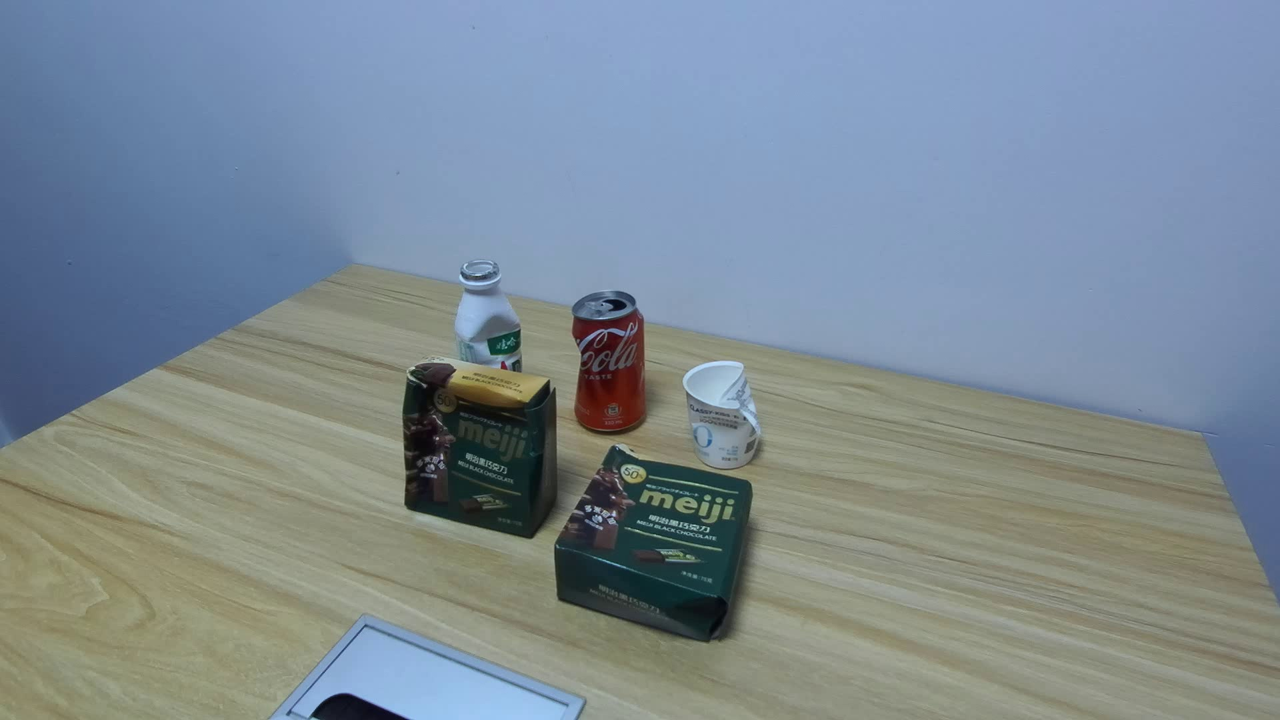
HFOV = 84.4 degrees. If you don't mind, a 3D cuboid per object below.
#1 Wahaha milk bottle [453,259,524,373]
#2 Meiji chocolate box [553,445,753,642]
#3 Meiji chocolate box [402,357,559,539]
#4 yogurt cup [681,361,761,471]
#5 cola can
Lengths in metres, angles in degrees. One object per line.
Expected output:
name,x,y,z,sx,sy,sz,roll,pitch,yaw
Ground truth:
Wahaha milk bottle,-0.132,-0.014,0.619,0.056,0.148,0.056,1,31,0
Meiji chocolate box,0.014,0.124,0.487,0.115,0.058,0.122,12,34,13
Meiji chocolate box,-0.119,0.063,0.531,0.117,0.117,0.052,9,24,15
yogurt cup,0.068,0.048,0.589,0.067,0.070,0.067,0,34,1
cola can,-0.027,0.003,0.623,0.065,0.117,0.072,8,30,11
